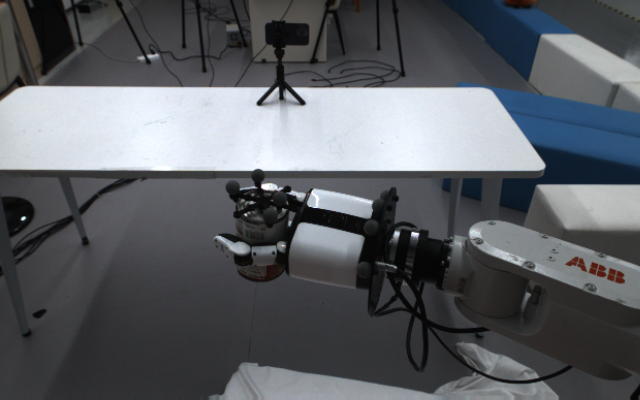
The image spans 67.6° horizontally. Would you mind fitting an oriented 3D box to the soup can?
[{"bbox_3d":[-0.073,0.047,0.621,0.067,0.101,0.067,4,37,-3],"label":"soup can"}]
